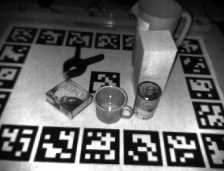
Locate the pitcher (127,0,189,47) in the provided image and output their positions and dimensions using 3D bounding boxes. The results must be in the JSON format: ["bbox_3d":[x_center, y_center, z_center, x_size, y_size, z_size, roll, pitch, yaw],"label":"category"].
[{"bbox_3d":[0.139,-0.168,0.715,0.189,0.244,0.132,0,48,0],"label":"pitcher"}]

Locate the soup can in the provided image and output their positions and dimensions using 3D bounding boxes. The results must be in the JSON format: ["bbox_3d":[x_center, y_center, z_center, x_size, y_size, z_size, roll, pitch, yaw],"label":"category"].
[{"bbox_3d":[0.089,0.034,0.630,0.068,0.102,0.067,2,52,-2],"label":"soup can"}]

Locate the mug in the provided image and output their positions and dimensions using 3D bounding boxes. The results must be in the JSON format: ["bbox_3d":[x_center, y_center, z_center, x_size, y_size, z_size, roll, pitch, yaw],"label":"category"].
[{"bbox_3d":[-0.005,0.052,0.622,0.116,0.082,0.094,31,52,22],"label":"mug"}]

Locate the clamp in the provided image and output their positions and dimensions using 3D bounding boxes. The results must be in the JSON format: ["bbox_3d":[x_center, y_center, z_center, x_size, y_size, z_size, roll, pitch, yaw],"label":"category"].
[{"bbox_3d":[-0.121,-0.093,0.773,0.121,0.036,0.166,30,54,10],"label":"clamp"}]

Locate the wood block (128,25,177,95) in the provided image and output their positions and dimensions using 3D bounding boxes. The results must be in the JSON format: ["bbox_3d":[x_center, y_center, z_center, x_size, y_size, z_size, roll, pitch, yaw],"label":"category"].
[{"bbox_3d":[0.111,-0.067,0.648,0.090,0.207,0.090,2,50,-6],"label":"wood block"}]

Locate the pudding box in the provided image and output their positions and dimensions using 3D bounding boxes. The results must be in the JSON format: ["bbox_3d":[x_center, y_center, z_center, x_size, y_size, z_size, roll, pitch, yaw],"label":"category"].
[{"bbox_3d":[-0.146,0.025,0.665,0.112,0.039,0.090,33,58,22],"label":"pudding box"}]
